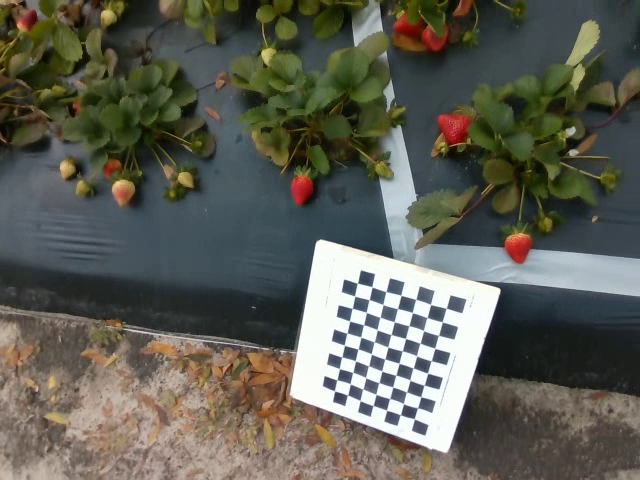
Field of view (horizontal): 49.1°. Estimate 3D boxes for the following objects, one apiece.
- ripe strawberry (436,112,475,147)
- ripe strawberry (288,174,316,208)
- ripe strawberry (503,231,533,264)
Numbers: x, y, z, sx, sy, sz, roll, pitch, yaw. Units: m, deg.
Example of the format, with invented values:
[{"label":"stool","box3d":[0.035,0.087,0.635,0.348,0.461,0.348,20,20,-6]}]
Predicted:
[{"label":"ripe strawberry","box3d":[0.184,-0.158,0.957,0.062,0.043,0.043,37,32,16]},{"label":"ripe strawberry","box3d":[-0.027,-0.075,0.971,0.036,0.046,0.040,4,-27,32]},{"label":"ripe strawberry","box3d":[0.265,0.008,0.914,0.039,0.046,0.041,-20,0,36]}]
